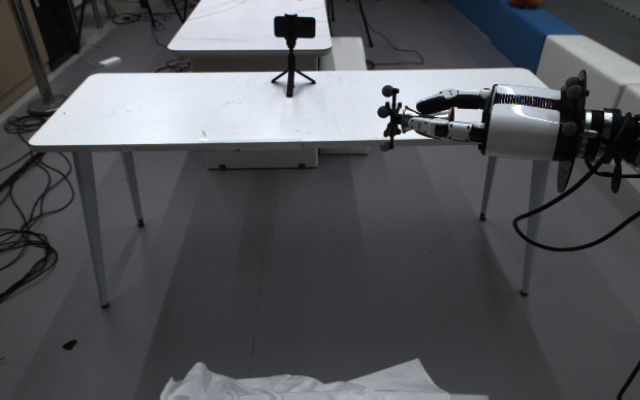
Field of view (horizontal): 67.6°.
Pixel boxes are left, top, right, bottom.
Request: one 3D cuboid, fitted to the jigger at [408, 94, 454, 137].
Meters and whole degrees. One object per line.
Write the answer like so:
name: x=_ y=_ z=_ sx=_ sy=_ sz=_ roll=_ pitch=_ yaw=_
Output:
jigger: x=0.161 y=-0.118 z=0.698 sx=0.071 sy=0.043 sz=0.043 roll=6 pitch=34 yaw=21
